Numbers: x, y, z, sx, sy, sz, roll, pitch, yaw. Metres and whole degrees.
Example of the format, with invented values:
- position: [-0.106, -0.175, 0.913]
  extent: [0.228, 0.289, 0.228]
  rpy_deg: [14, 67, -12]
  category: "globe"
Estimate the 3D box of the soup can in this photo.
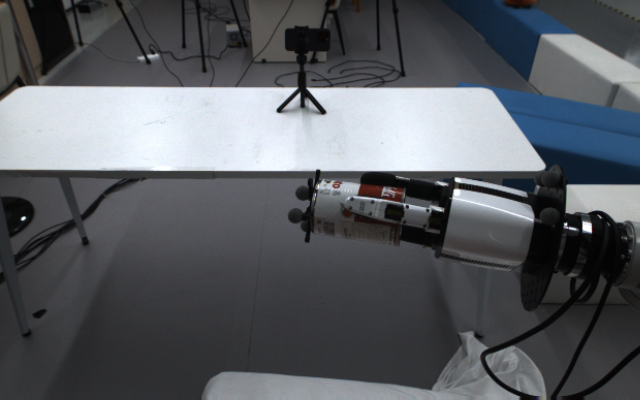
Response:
- position: [0.048, 0.012, 0.565]
  extent: [0.101, 0.067, 0.067]
  rpy_deg: [6, 35, 10]
  category: "soup can"
